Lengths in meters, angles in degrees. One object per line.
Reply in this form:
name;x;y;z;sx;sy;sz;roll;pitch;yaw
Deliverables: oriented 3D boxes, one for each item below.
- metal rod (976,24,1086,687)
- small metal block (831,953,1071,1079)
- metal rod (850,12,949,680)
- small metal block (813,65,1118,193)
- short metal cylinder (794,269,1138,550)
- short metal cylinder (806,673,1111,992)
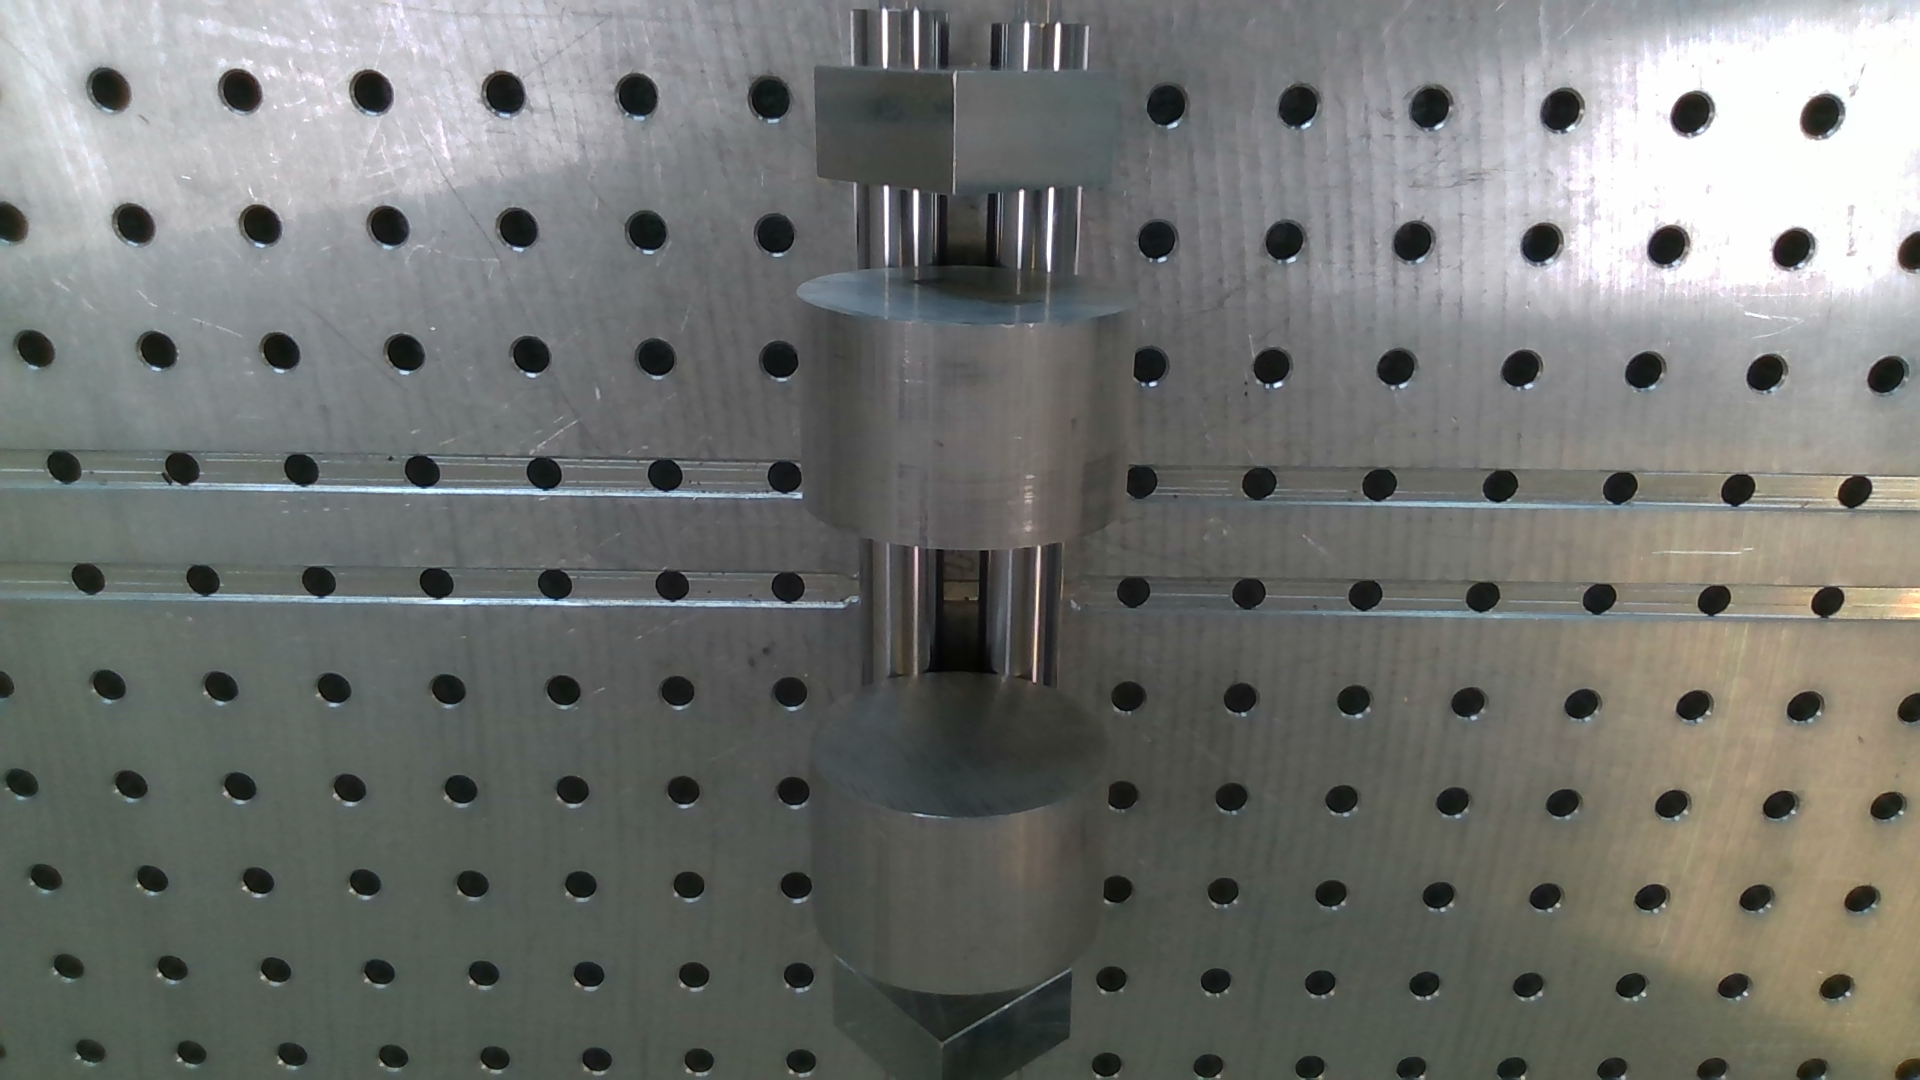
metal rod;0.018;0.011;0.400;0.025;0.025;0.301;1;110;0
small metal block;-0.003;0.135;0.408;0.050;0.050;0.025;-16;115;-39
metal rod;-0.017;0.008;0.399;0.025;0.025;0.301;1;110;0
small metal block;0.001;-0.098;0.323;0.050;0.050;0.025;-16;116;-39
short metal cylinder;0.001;-0.035;0.331;0.080;0.080;0.050;1;110;0
short metal cylinder;-0.001;0.076;0.371;0.080;0.080;0.050;1;110;0
